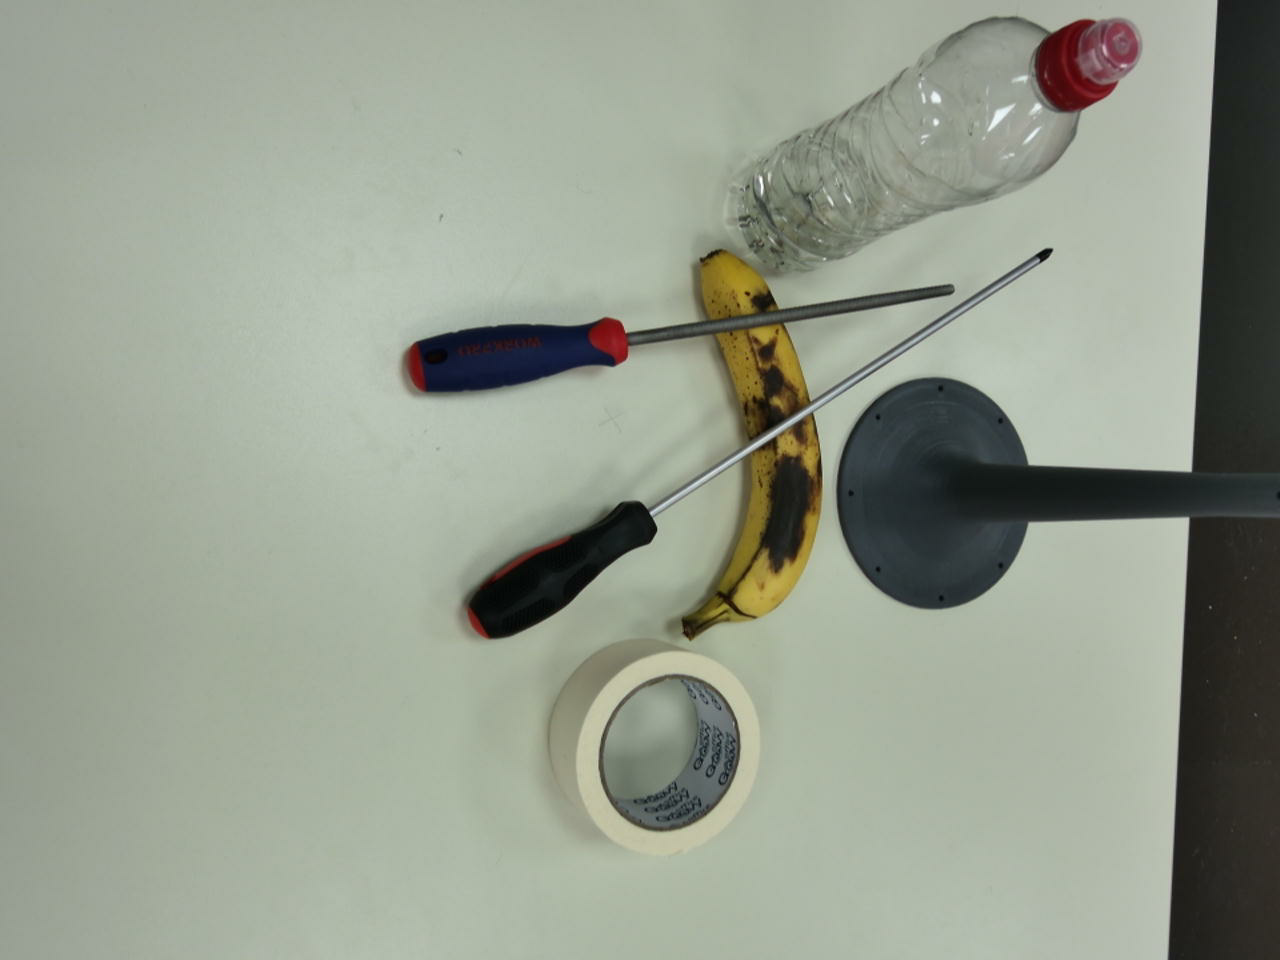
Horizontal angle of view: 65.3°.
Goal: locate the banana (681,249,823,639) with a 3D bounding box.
[{"bbox_3d":[0.069,-0.019,0.579,0.084,0.038,0.222,5,88,-21],"label":"banana"}]
